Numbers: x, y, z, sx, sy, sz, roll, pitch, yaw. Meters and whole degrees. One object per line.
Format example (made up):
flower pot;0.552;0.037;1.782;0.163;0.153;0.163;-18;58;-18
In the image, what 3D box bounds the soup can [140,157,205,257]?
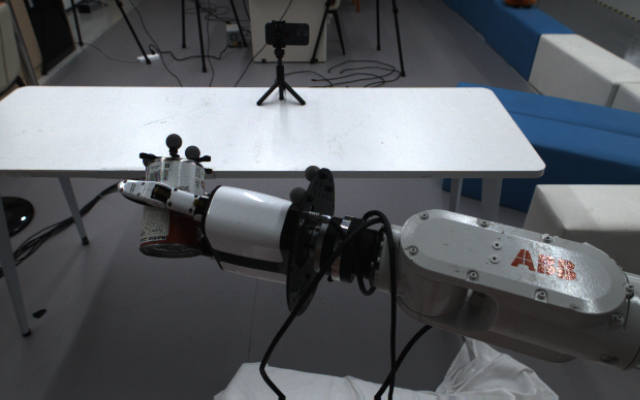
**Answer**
soup can;-0.164;0.010;0.551;0.067;0.067;0.101;-2;71;-5
